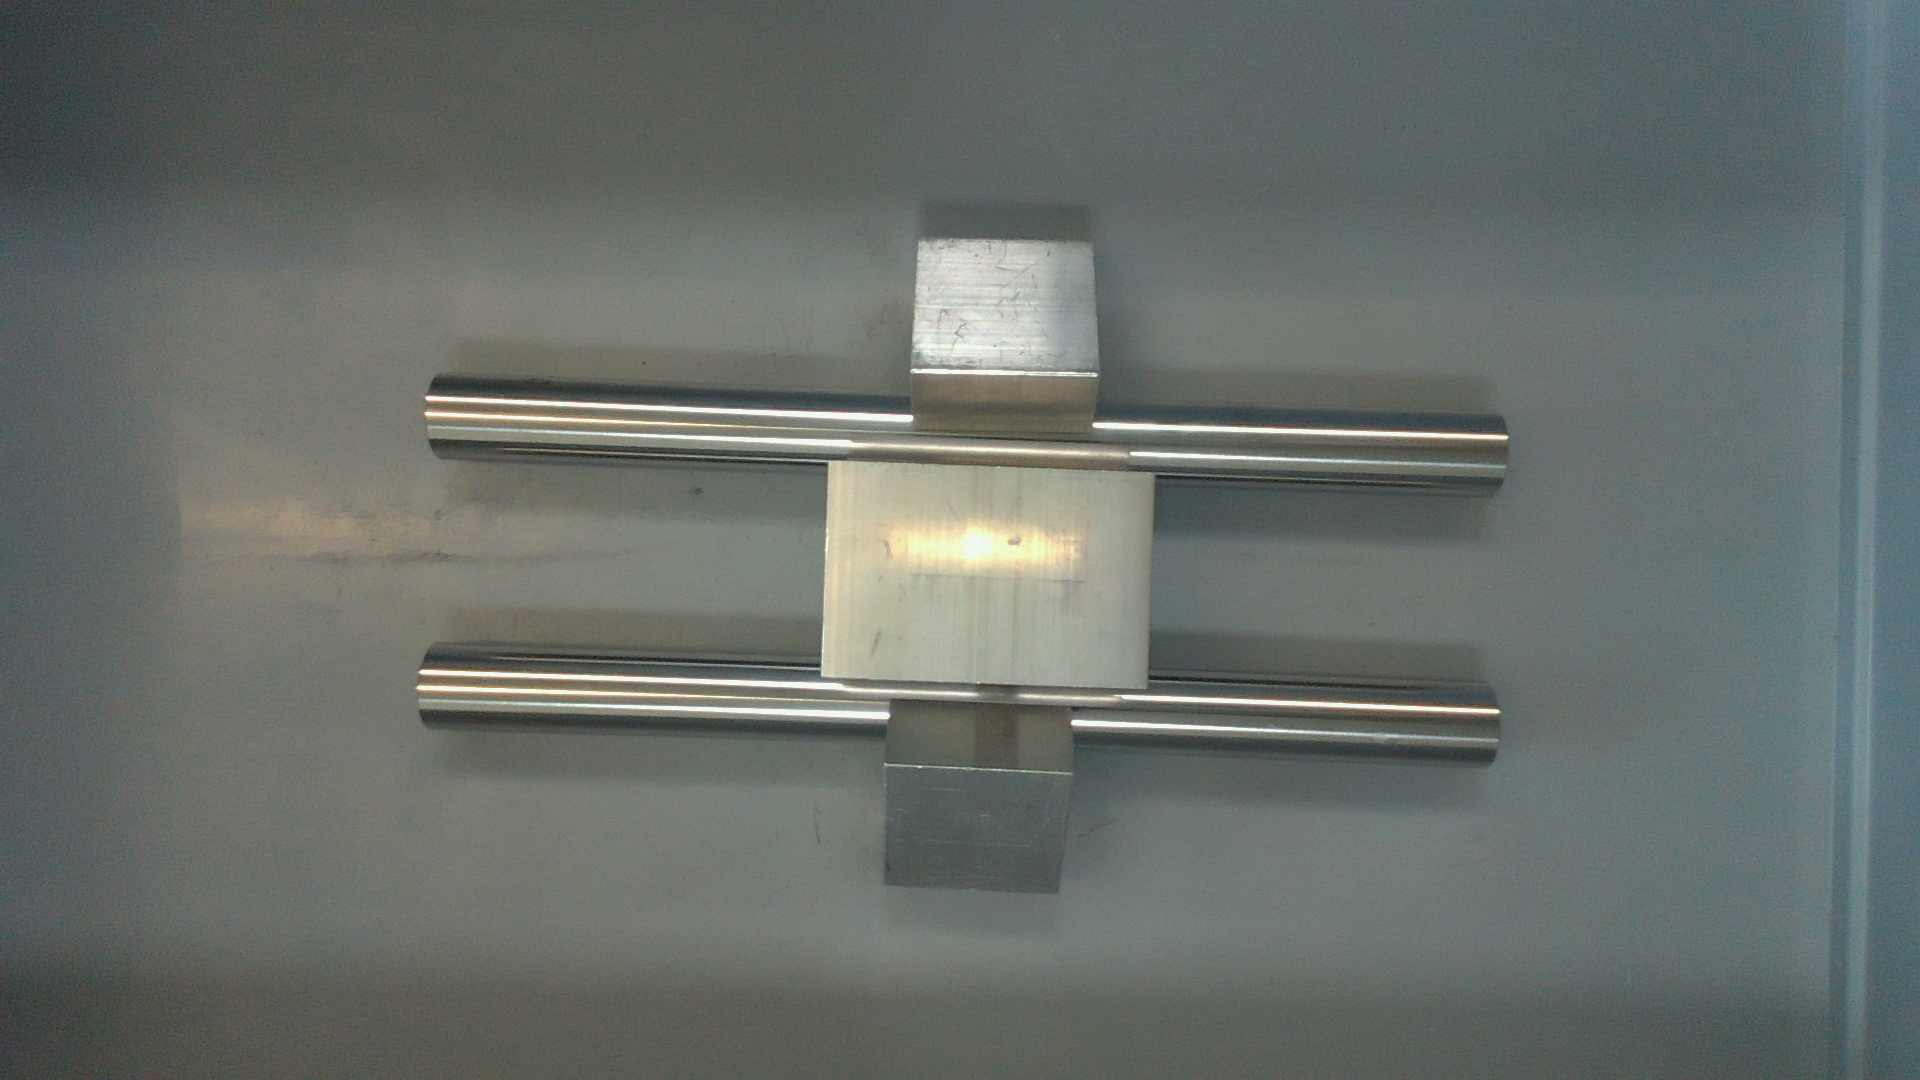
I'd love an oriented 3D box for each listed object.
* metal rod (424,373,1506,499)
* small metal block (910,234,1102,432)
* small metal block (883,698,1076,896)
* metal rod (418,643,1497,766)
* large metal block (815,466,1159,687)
[{"bbox_3d":[0.002,-0.030,0.393,0.300,0.025,0.025,2,90,0],"label":"metal rod"},{"bbox_3d":[0.012,-0.058,0.383,0.050,0.025,0.050,1,56,0],"label":"small metal block"},{"bbox_3d":[0.004,0.072,0.382,0.050,0.025,0.050,3,128,0],"label":"small metal block"},{"bbox_3d":[0.000,0.047,0.395,0.300,0.025,0.025,2,90,0],"label":"metal rod"},{"bbox_3d":[0.007,0.008,0.366,0.080,0.080,0.050,2,90,0],"label":"large metal block"}]
